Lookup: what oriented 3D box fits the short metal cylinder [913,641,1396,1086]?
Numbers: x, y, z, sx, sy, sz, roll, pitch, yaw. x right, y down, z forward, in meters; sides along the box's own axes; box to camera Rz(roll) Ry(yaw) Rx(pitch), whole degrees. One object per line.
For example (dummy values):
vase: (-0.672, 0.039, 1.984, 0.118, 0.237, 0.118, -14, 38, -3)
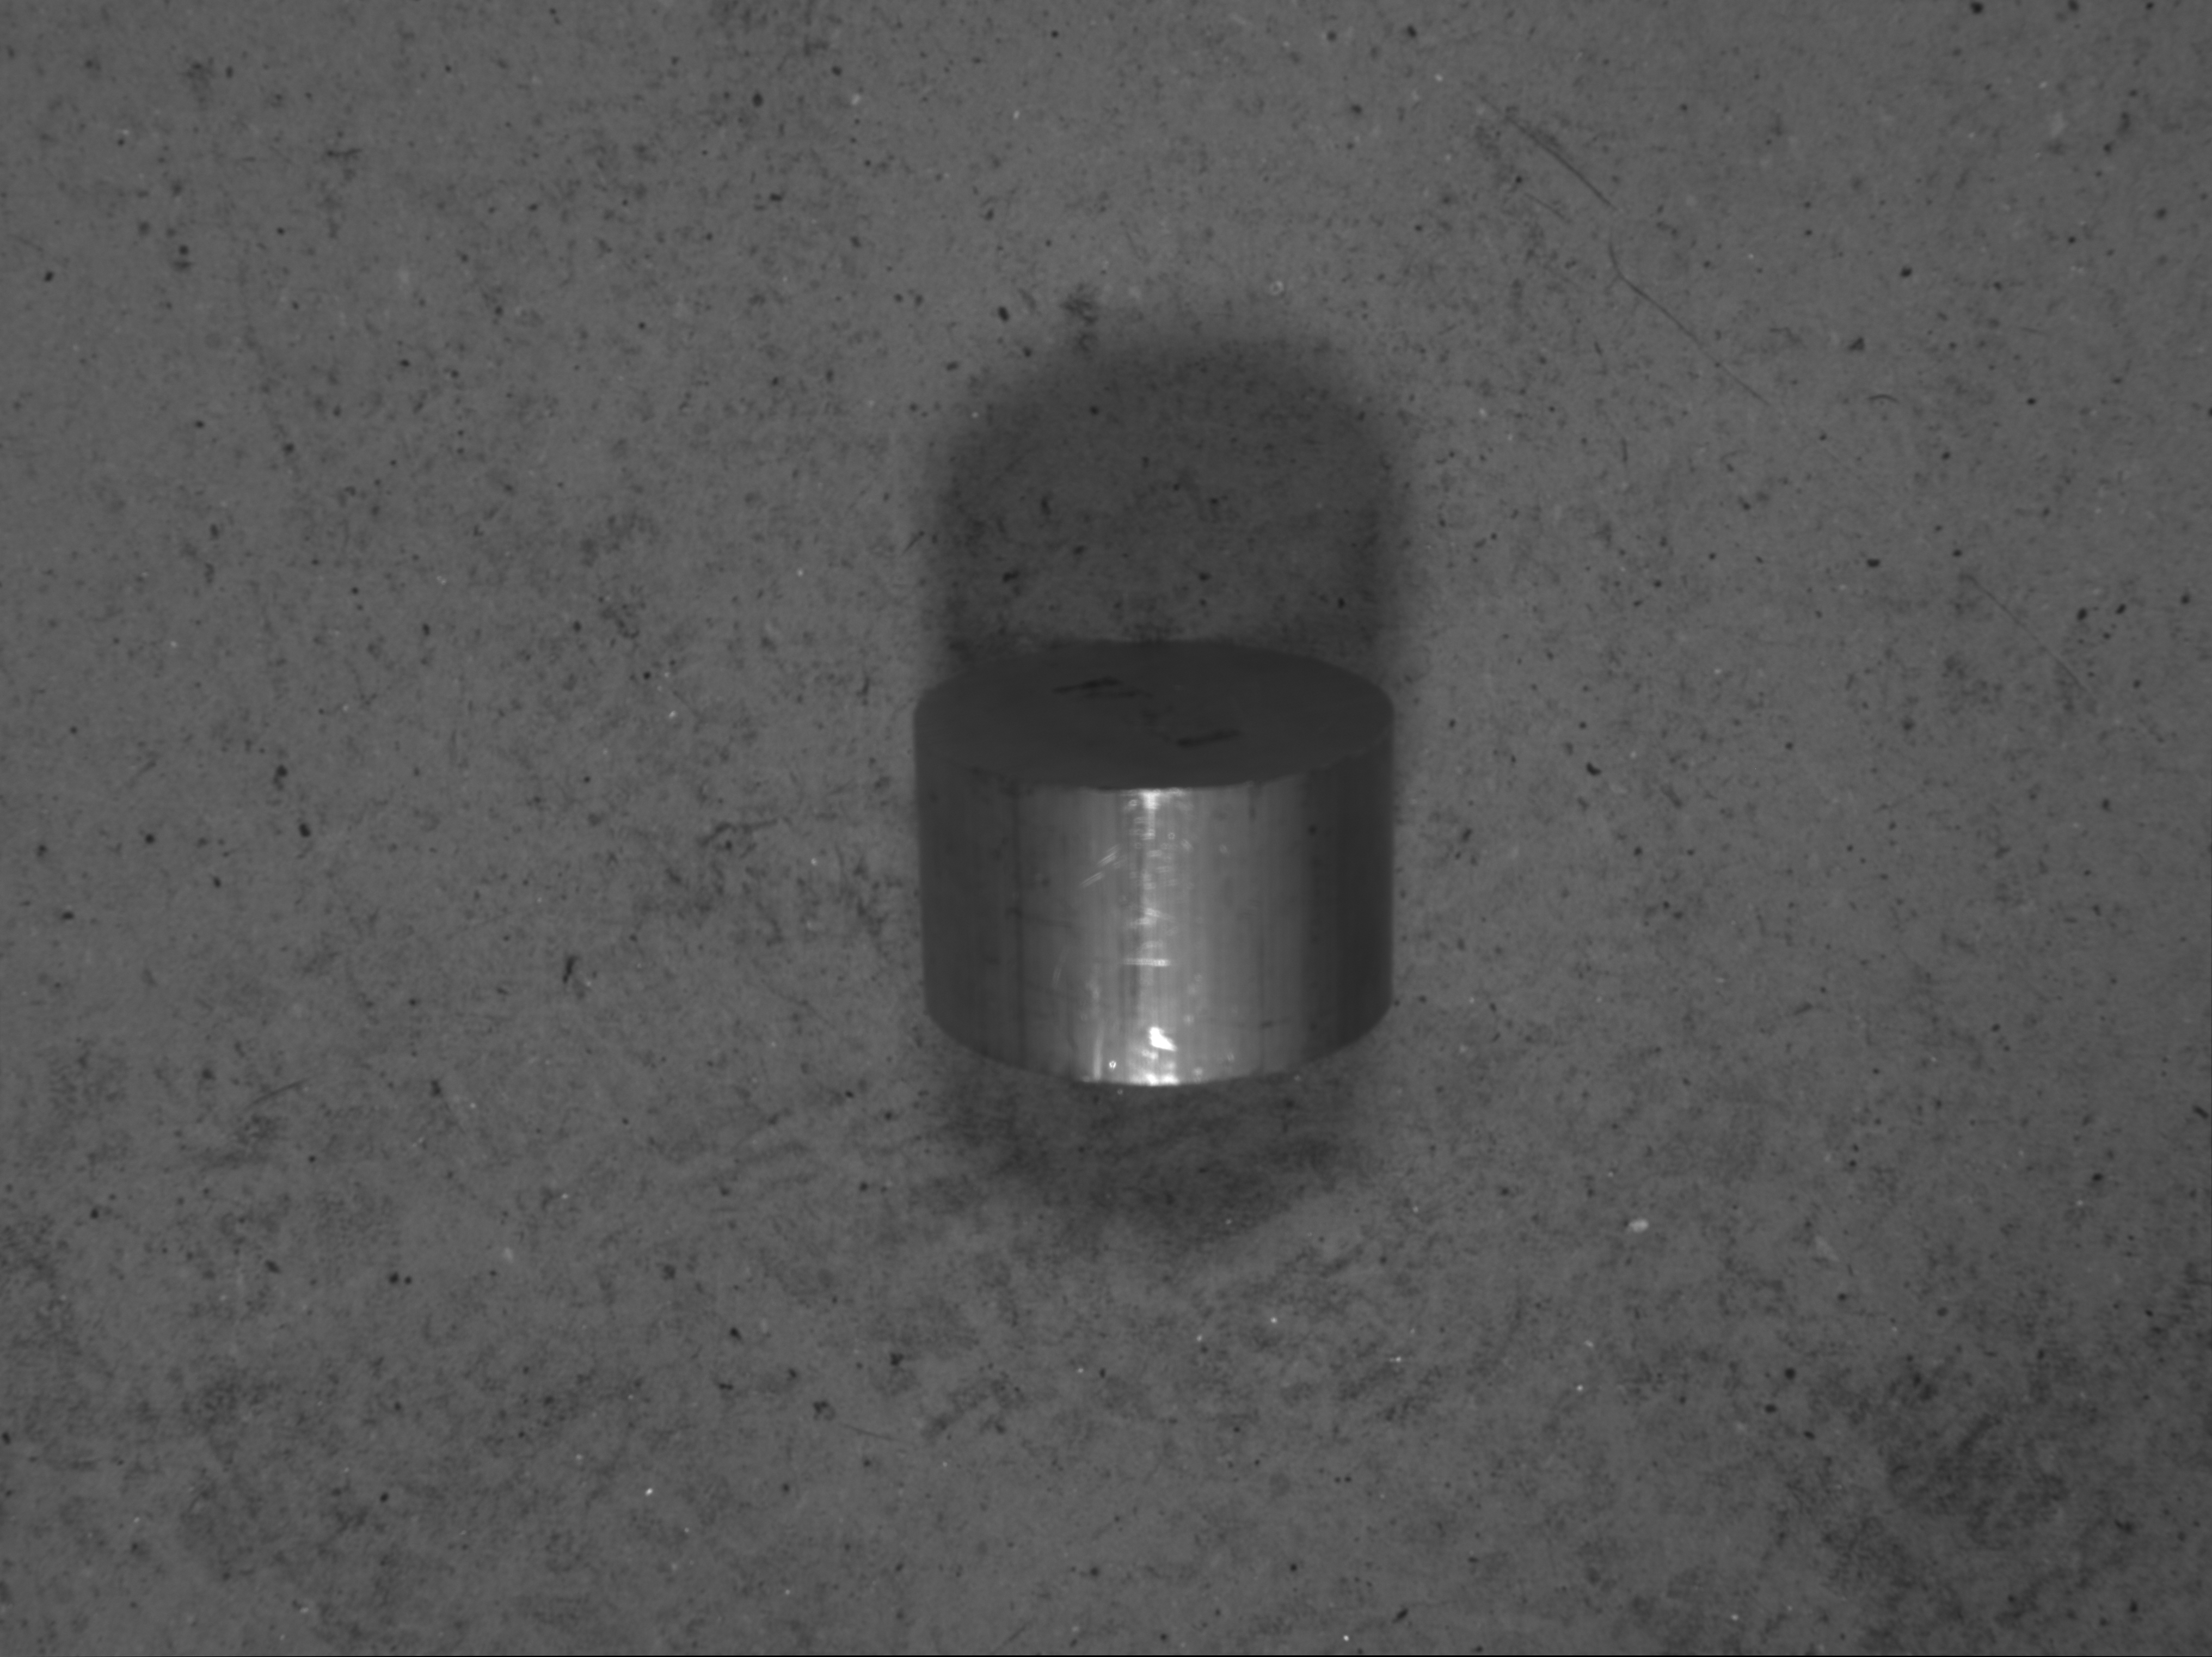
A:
short metal cylinder: (0.008, 0.004, 0.616, 0.080, 0.080, 0.050, -1, 110, 0)
